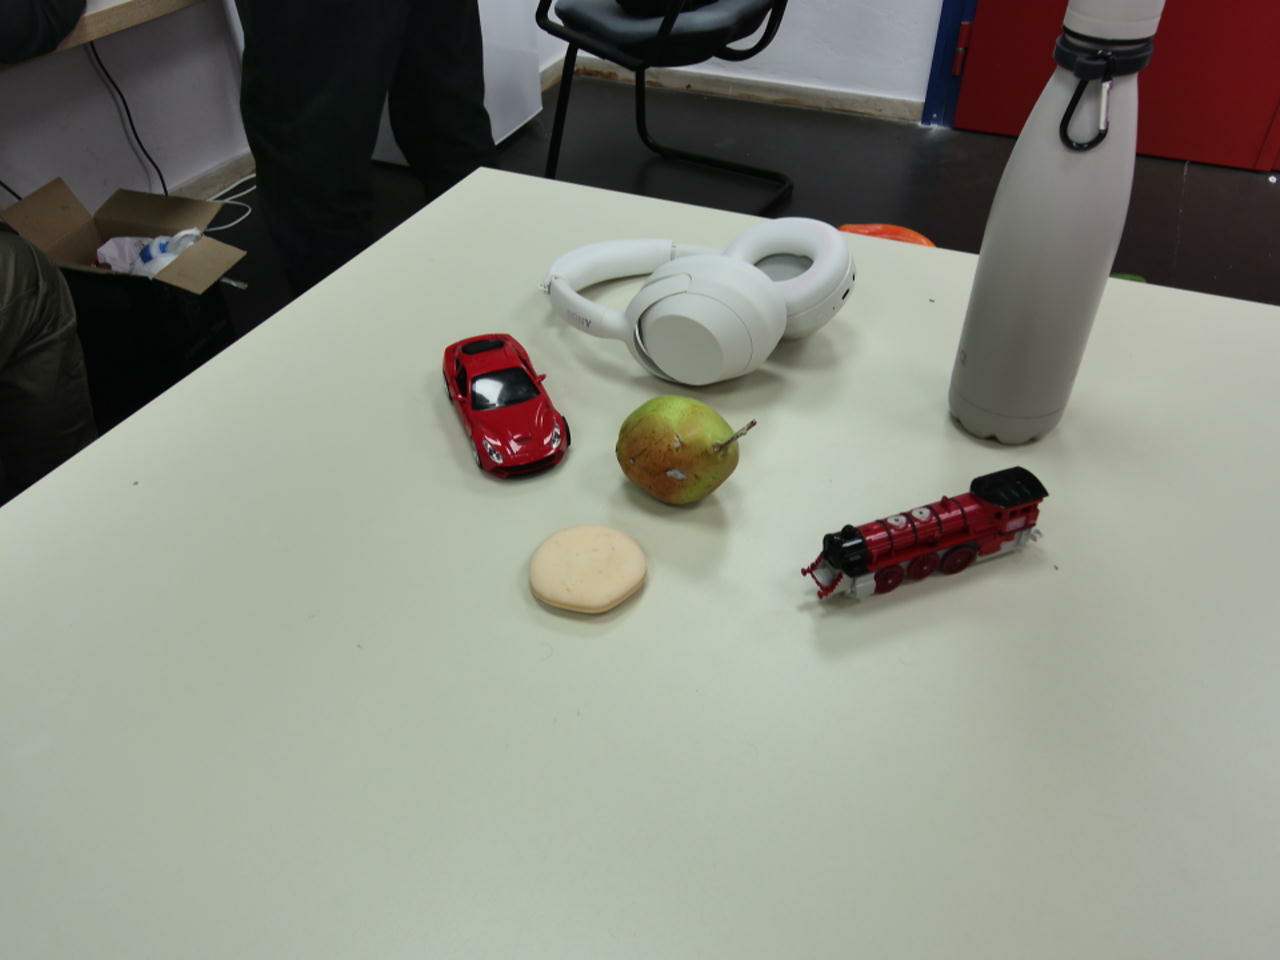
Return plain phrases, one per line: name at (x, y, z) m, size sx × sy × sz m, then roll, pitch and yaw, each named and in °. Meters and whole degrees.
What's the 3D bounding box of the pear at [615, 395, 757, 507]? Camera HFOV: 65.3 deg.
pear at (0.021, -0.019, 0.580) m, size 0.068 × 0.069 × 0.070 m, roll -8°, pitch 39°, yaw -11°
